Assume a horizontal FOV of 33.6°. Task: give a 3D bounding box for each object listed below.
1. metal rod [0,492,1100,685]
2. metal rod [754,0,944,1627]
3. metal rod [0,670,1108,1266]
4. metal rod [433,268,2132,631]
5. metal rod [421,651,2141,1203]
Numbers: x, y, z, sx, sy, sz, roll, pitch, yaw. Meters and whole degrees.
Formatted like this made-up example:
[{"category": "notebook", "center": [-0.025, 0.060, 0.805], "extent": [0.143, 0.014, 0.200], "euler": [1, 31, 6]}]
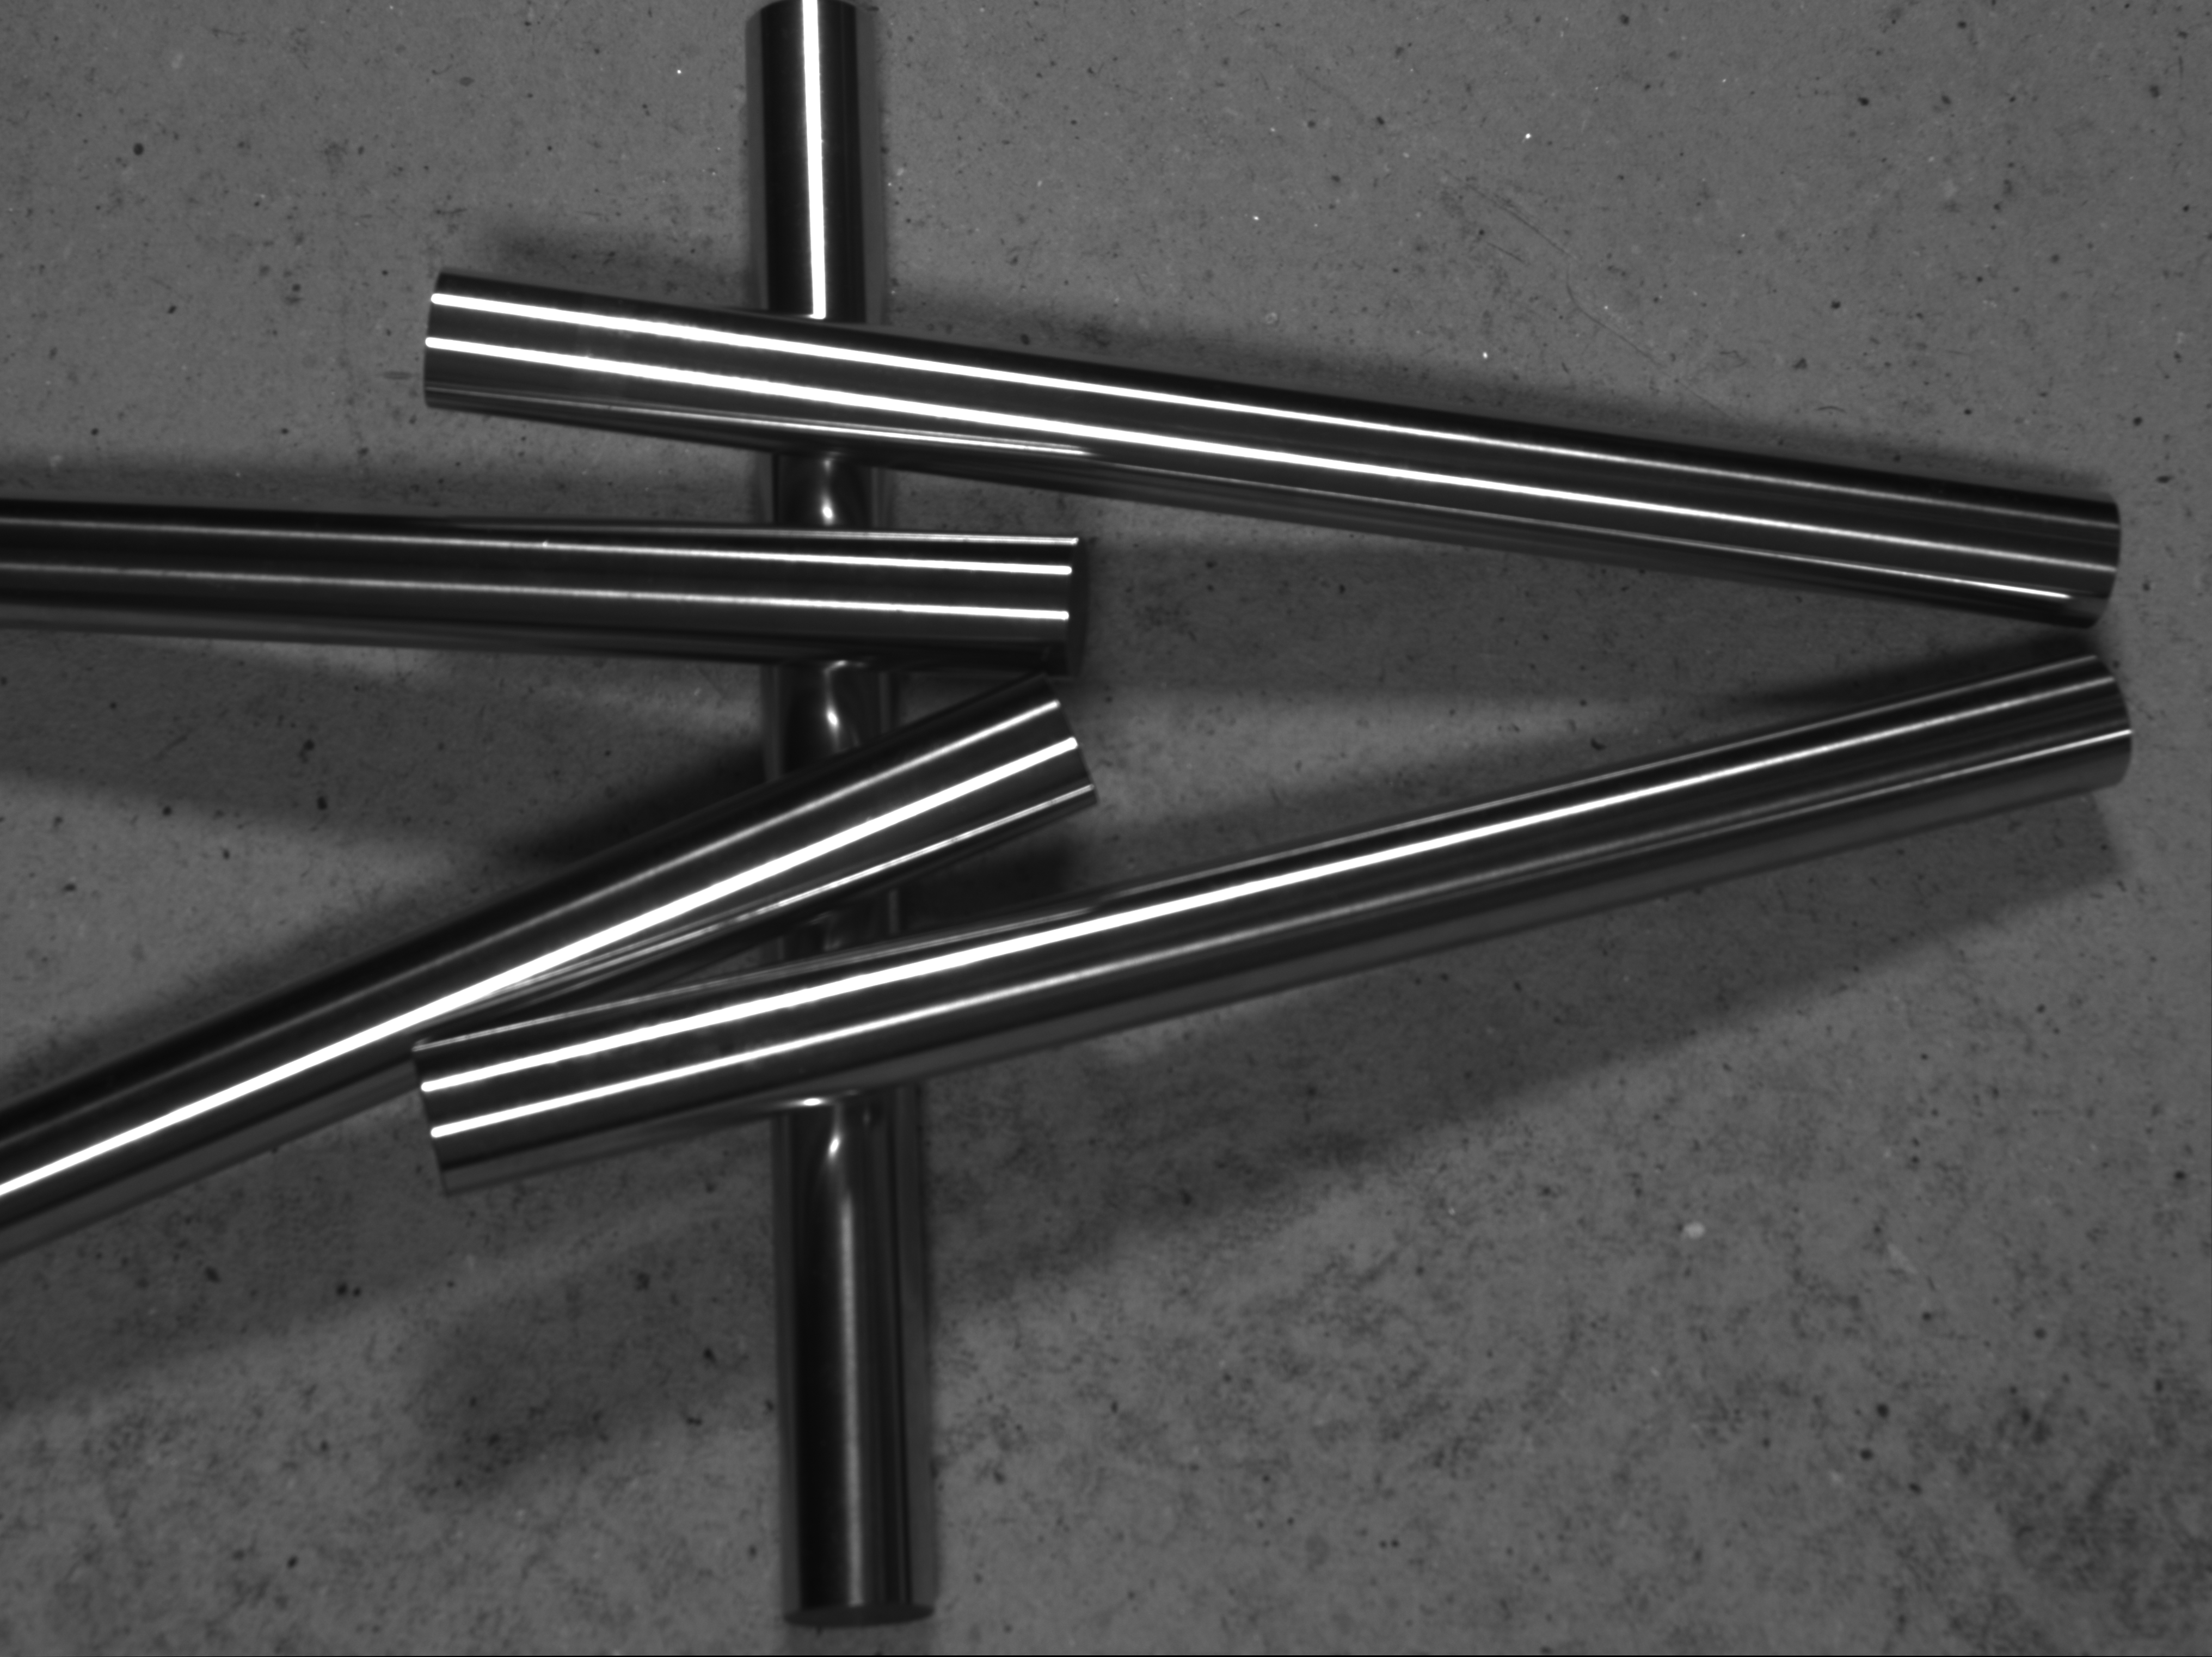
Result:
[{"category": "metal rod", "center": [-0.151, -0.045, 0.646], "extent": [0.300, 0.025, 0.025], "euler": [3, 70, 7]}, {"category": "metal rod", "center": [-0.047, -0.012, 0.649], "extent": [0.025, 0.025, 0.300], "euler": [-3, 70, -1]}, {"category": "metal rod", "center": [-0.143, 0.042, 0.614], "extent": [0.300, 0.025, 0.025], "euler": [-23, 71, -2]}, {"category": "metal rod", "center": [0.033, -0.067, 0.652], "extent": [0.300, 0.025, 0.025], "euler": [7, 70, -4]}, {"category": "metal rod", "center": [0.035, 0.014, 0.623], "extent": [0.300, 0.025, 0.025], "euler": [-13, 70, -12]}]
